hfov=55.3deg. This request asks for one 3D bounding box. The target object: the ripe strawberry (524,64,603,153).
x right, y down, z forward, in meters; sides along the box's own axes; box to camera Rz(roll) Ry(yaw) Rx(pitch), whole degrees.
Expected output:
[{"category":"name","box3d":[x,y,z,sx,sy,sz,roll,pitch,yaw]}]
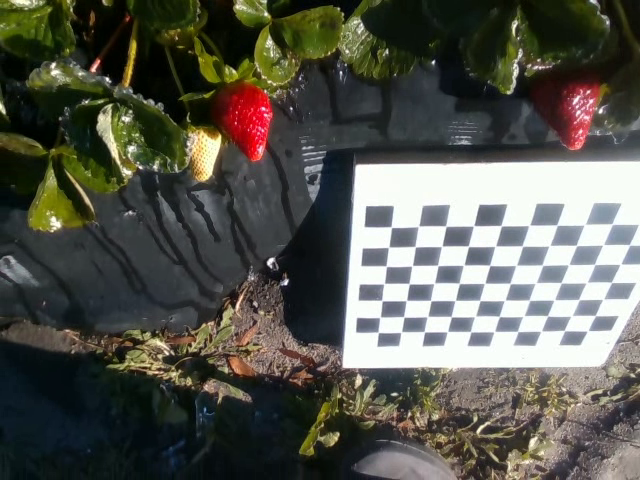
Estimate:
[{"category":"ripe strawberry","box3d":[0.177,-0.089,0.431,0.048,0.061,0.044,-5,10,3]}]

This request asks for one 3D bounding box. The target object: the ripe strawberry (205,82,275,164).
[{"category":"ripe strawberry","box3d":[-0.051,-0.082,0.439,0.042,0.061,0.046,-11,0,8]}]
